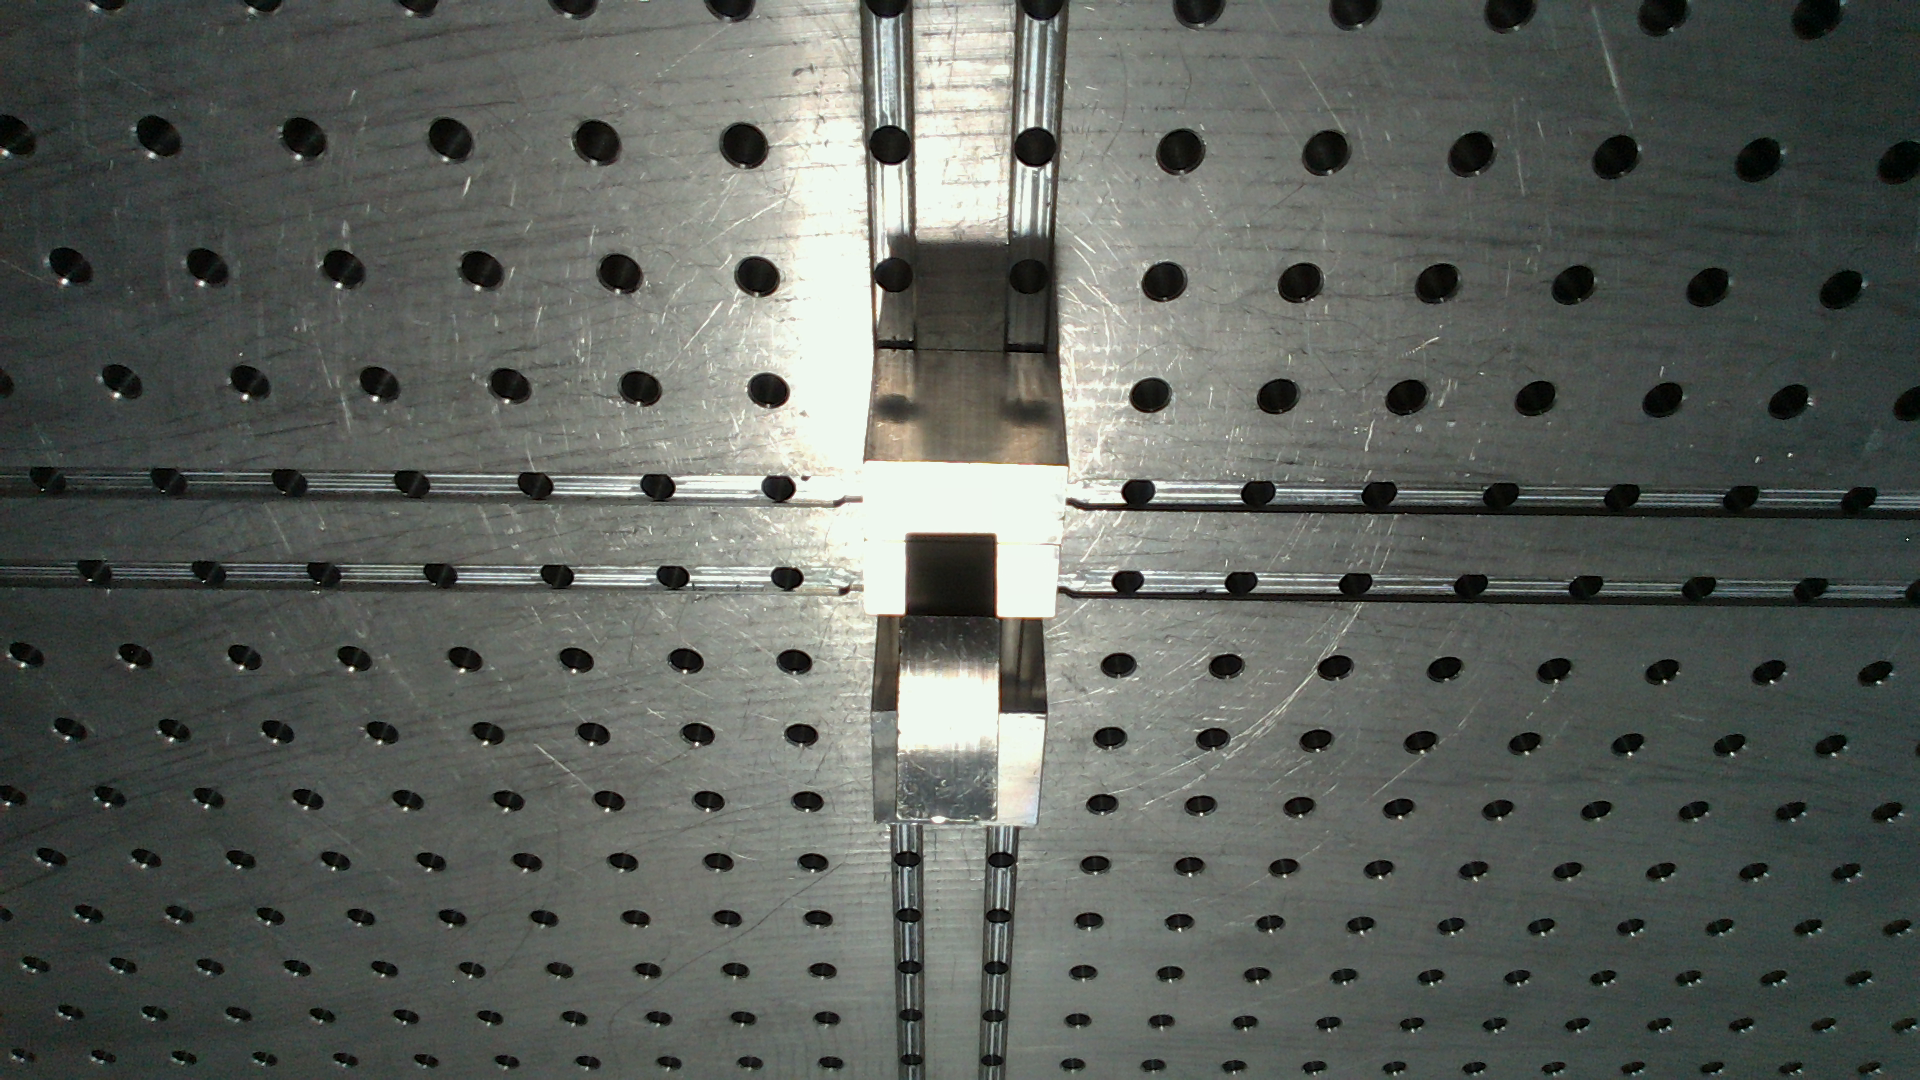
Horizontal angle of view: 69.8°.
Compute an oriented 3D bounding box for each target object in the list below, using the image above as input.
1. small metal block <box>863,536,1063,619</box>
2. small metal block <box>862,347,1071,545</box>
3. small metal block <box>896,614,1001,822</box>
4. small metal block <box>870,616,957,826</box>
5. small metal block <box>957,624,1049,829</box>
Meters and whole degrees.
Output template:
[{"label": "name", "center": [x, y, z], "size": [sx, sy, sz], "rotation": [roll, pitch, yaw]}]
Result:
[{"label": "small metal block", "center": [0.000, -0.006, 0.372], "size": [0.050, 0.050, 0.025], "rotation": [2, 130, -1]}, {"label": "small metal block", "center": [0.001, -0.025, 0.355], "size": [0.050, 0.050, 0.025], "rotation": [2, 130, -1]}, {"label": "small metal block", "center": [-0.003, 0.044, 0.360], "size": [0.025, 0.050, 0.050], "rotation": [1, 88, 1]}, {"label": "small metal block", "center": [-0.013, 0.051, 0.420], "size": [0.025, 0.050, 0.050], "rotation": [1, 130, -1]}, {"label": "small metal block", "center": [0.012, 0.052, 0.420], "size": [0.025, 0.050, 0.050], "rotation": [1, 130, -1]}]
